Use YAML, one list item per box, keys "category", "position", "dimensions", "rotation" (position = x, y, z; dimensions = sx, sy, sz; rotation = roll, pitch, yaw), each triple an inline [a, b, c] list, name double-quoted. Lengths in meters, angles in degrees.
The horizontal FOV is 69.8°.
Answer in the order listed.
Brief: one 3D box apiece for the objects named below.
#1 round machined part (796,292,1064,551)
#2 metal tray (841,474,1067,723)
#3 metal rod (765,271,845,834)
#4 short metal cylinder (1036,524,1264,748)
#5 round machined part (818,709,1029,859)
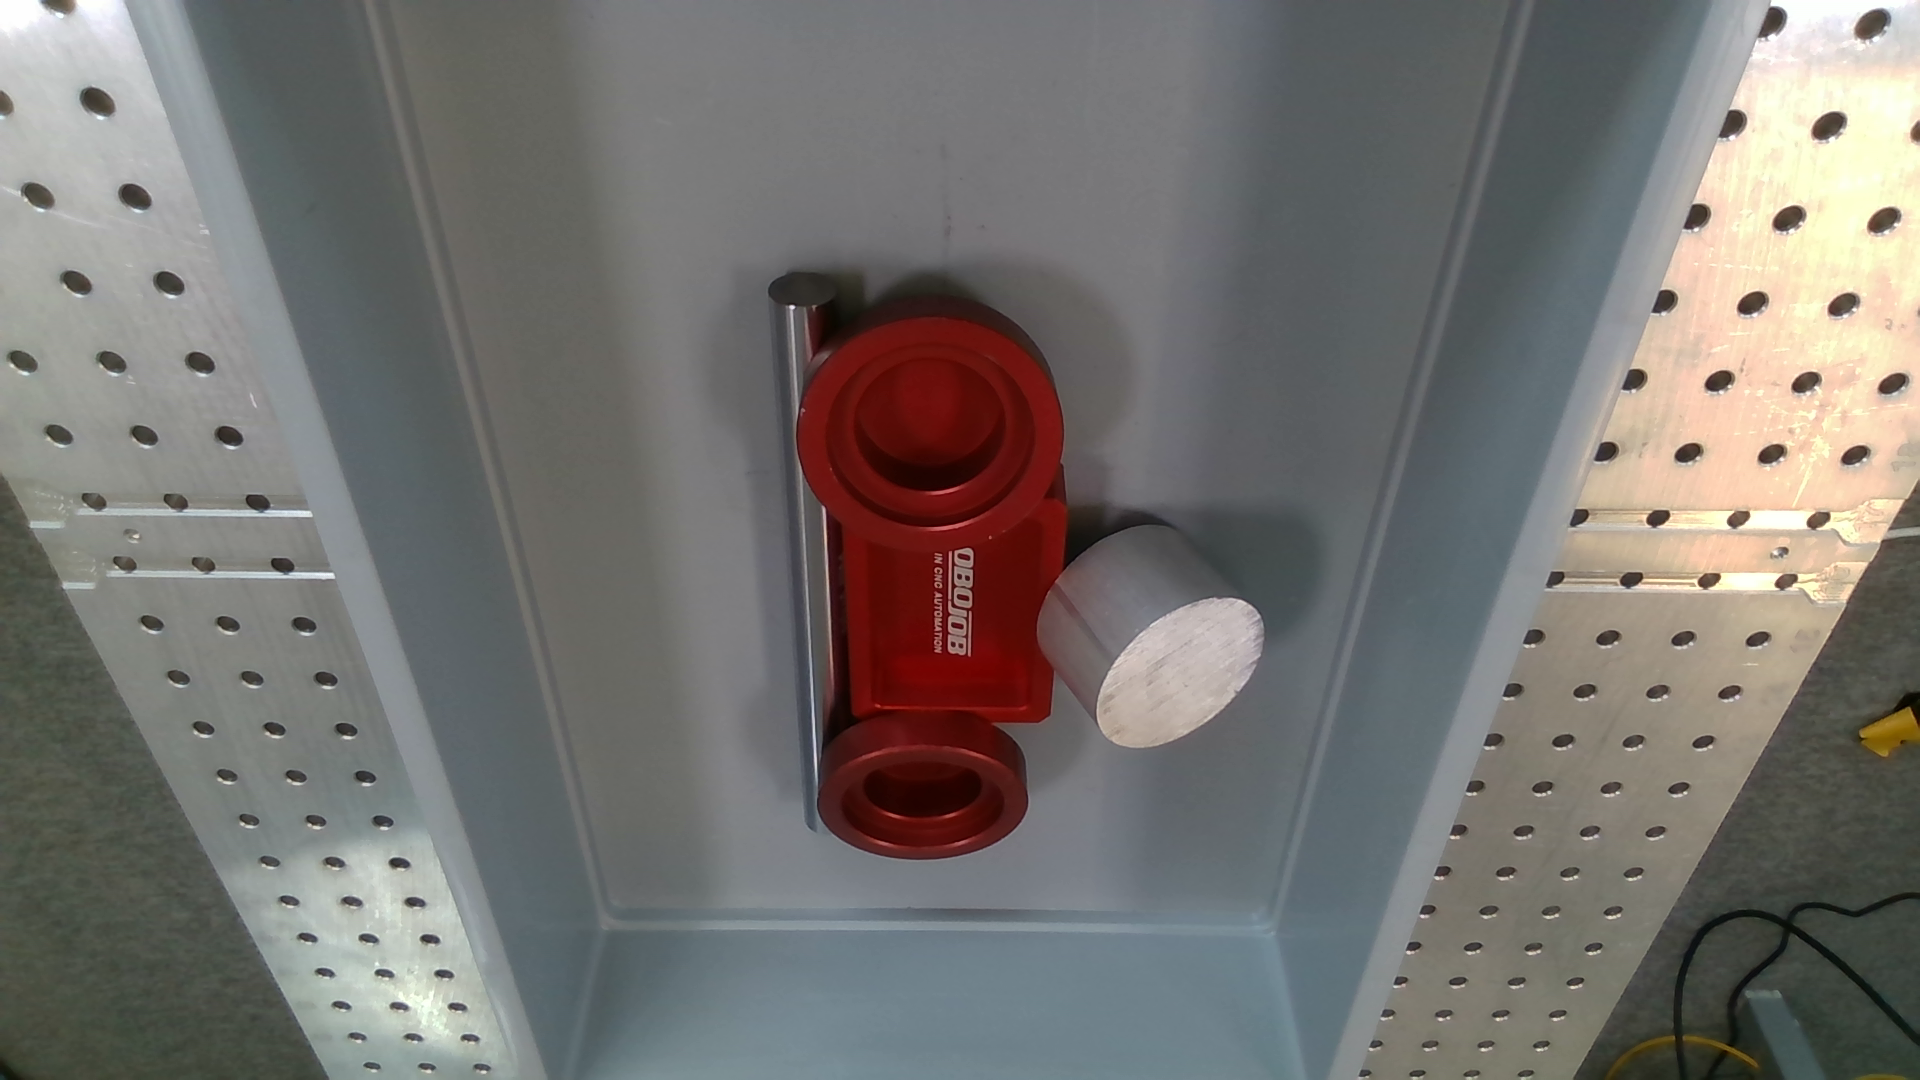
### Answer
- category: "round machined part"
  position: [-0.012, -0.048, 0.521]
  dimensions: [0.098, 0.042, 0.098]
  rotation: [-1, 122, -2]
- category: "metal tray"
  position: [-0.003, 0.024, 0.594]
  dimensions: [0.090, 0.030, 0.130]
  rotation: [1, 131, 0]
- category: "metal rod"
  position: [-0.063, 0.023, 0.598]
  dimensions: [0.025, 0.025, 0.301]
  rotation: [1, 130, -1]
- category: "short metal cylinder"
  position: [0.079, 0.040, 0.577]
  dimensions: [0.080, 0.050, 0.080]
  rotation: [-18, 133, -20]
- category: "round machined part"
  position: [-0.018, 0.108, 0.652]
  dimensions: [0.098, 0.042, 0.098]
  rotation: [-1, 138, -1]
